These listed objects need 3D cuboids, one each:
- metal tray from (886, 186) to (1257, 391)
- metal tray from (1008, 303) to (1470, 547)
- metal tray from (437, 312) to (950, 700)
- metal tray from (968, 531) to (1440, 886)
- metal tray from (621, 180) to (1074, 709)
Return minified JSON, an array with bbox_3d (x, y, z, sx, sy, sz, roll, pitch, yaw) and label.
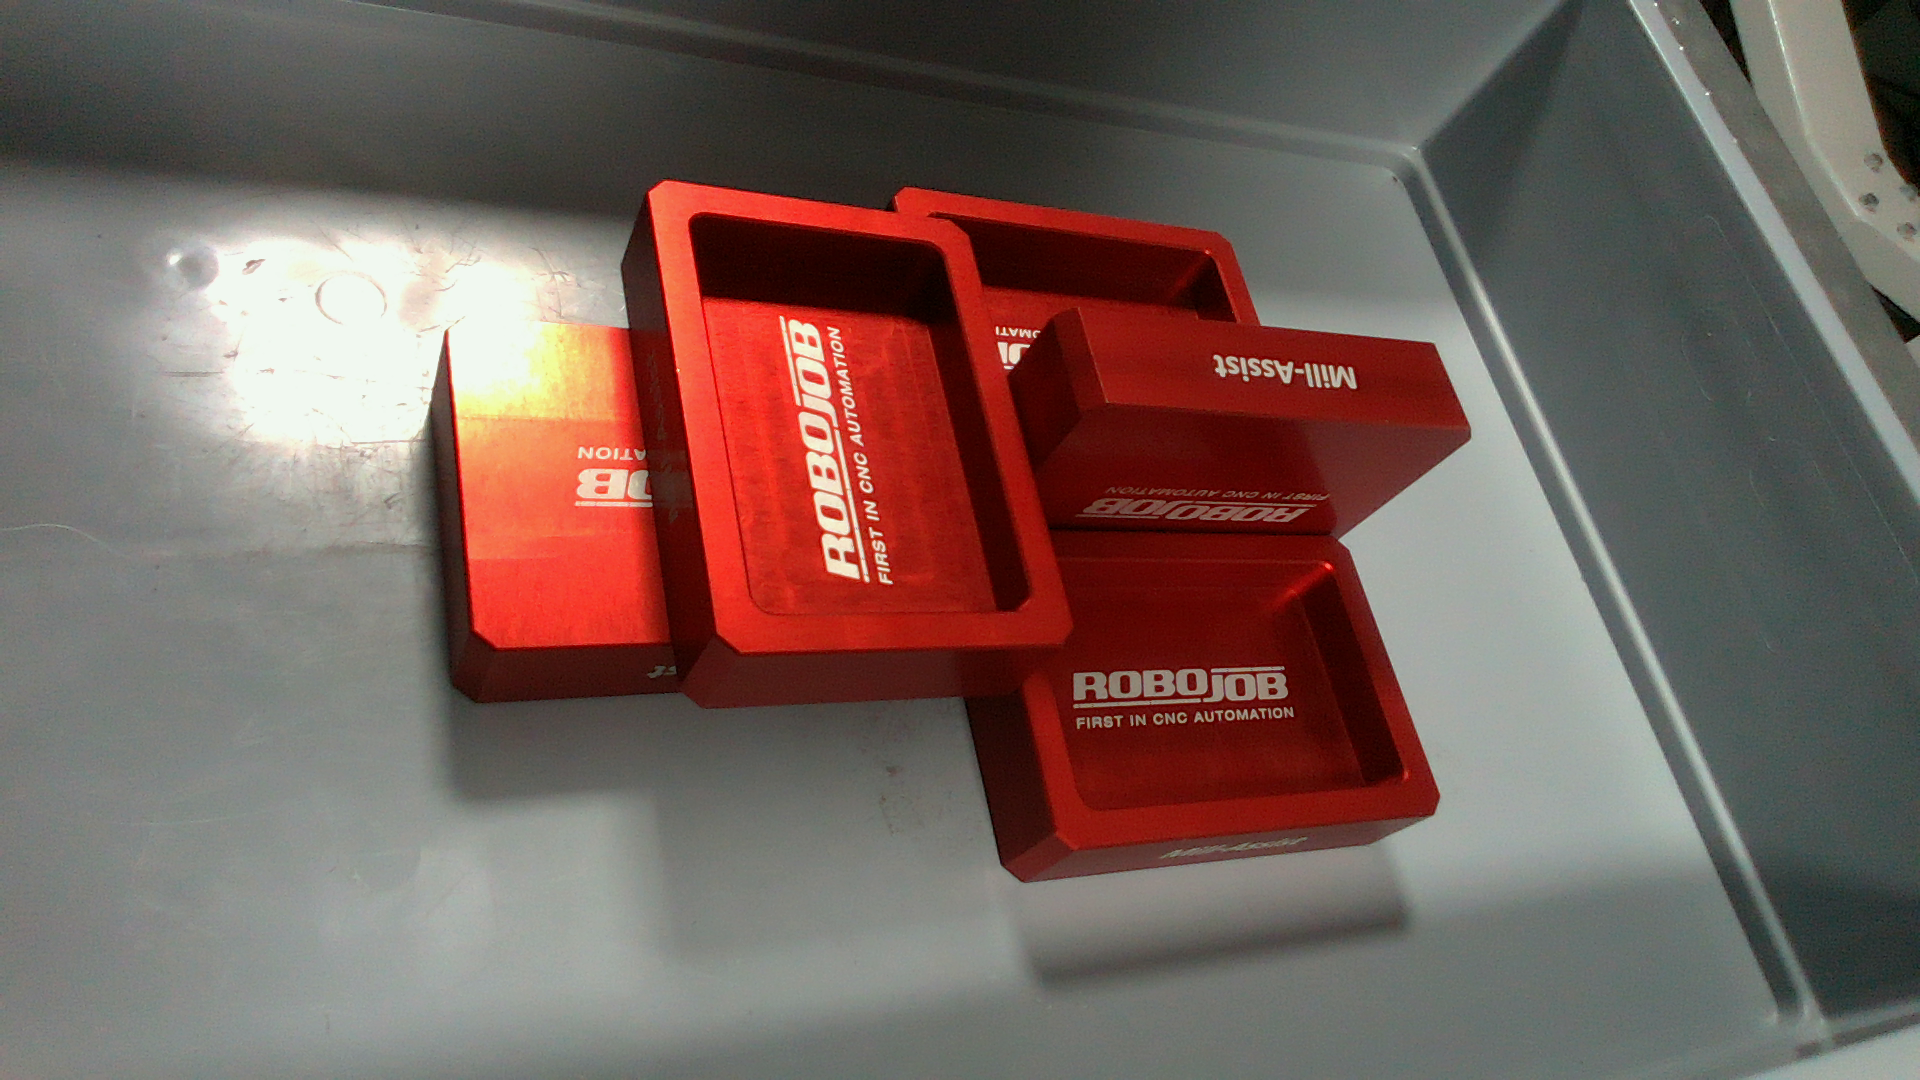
[{"bbox_3d":[0.039,-0.062,0.445,0.130,0.030,0.090,1,61,-28],"label":"metal tray"},{"bbox_3d":[0.068,-0.024,0.396,0.130,0.090,0.030,1,61,-28],"label":"metal tray"},{"bbox_3d":[-0.063,-0.009,0.355,0.130,0.030,0.090,0,61,-28],"label":"metal tray"},{"bbox_3d":[0.066,0.044,0.393,0.130,0.030,0.090,1,61,-28],"label":"metal tray"},{"bbox_3d":[-0.031,-0.025,0.344,0.090,0.030,0.130,1,61,-28],"label":"metal tray"}]
